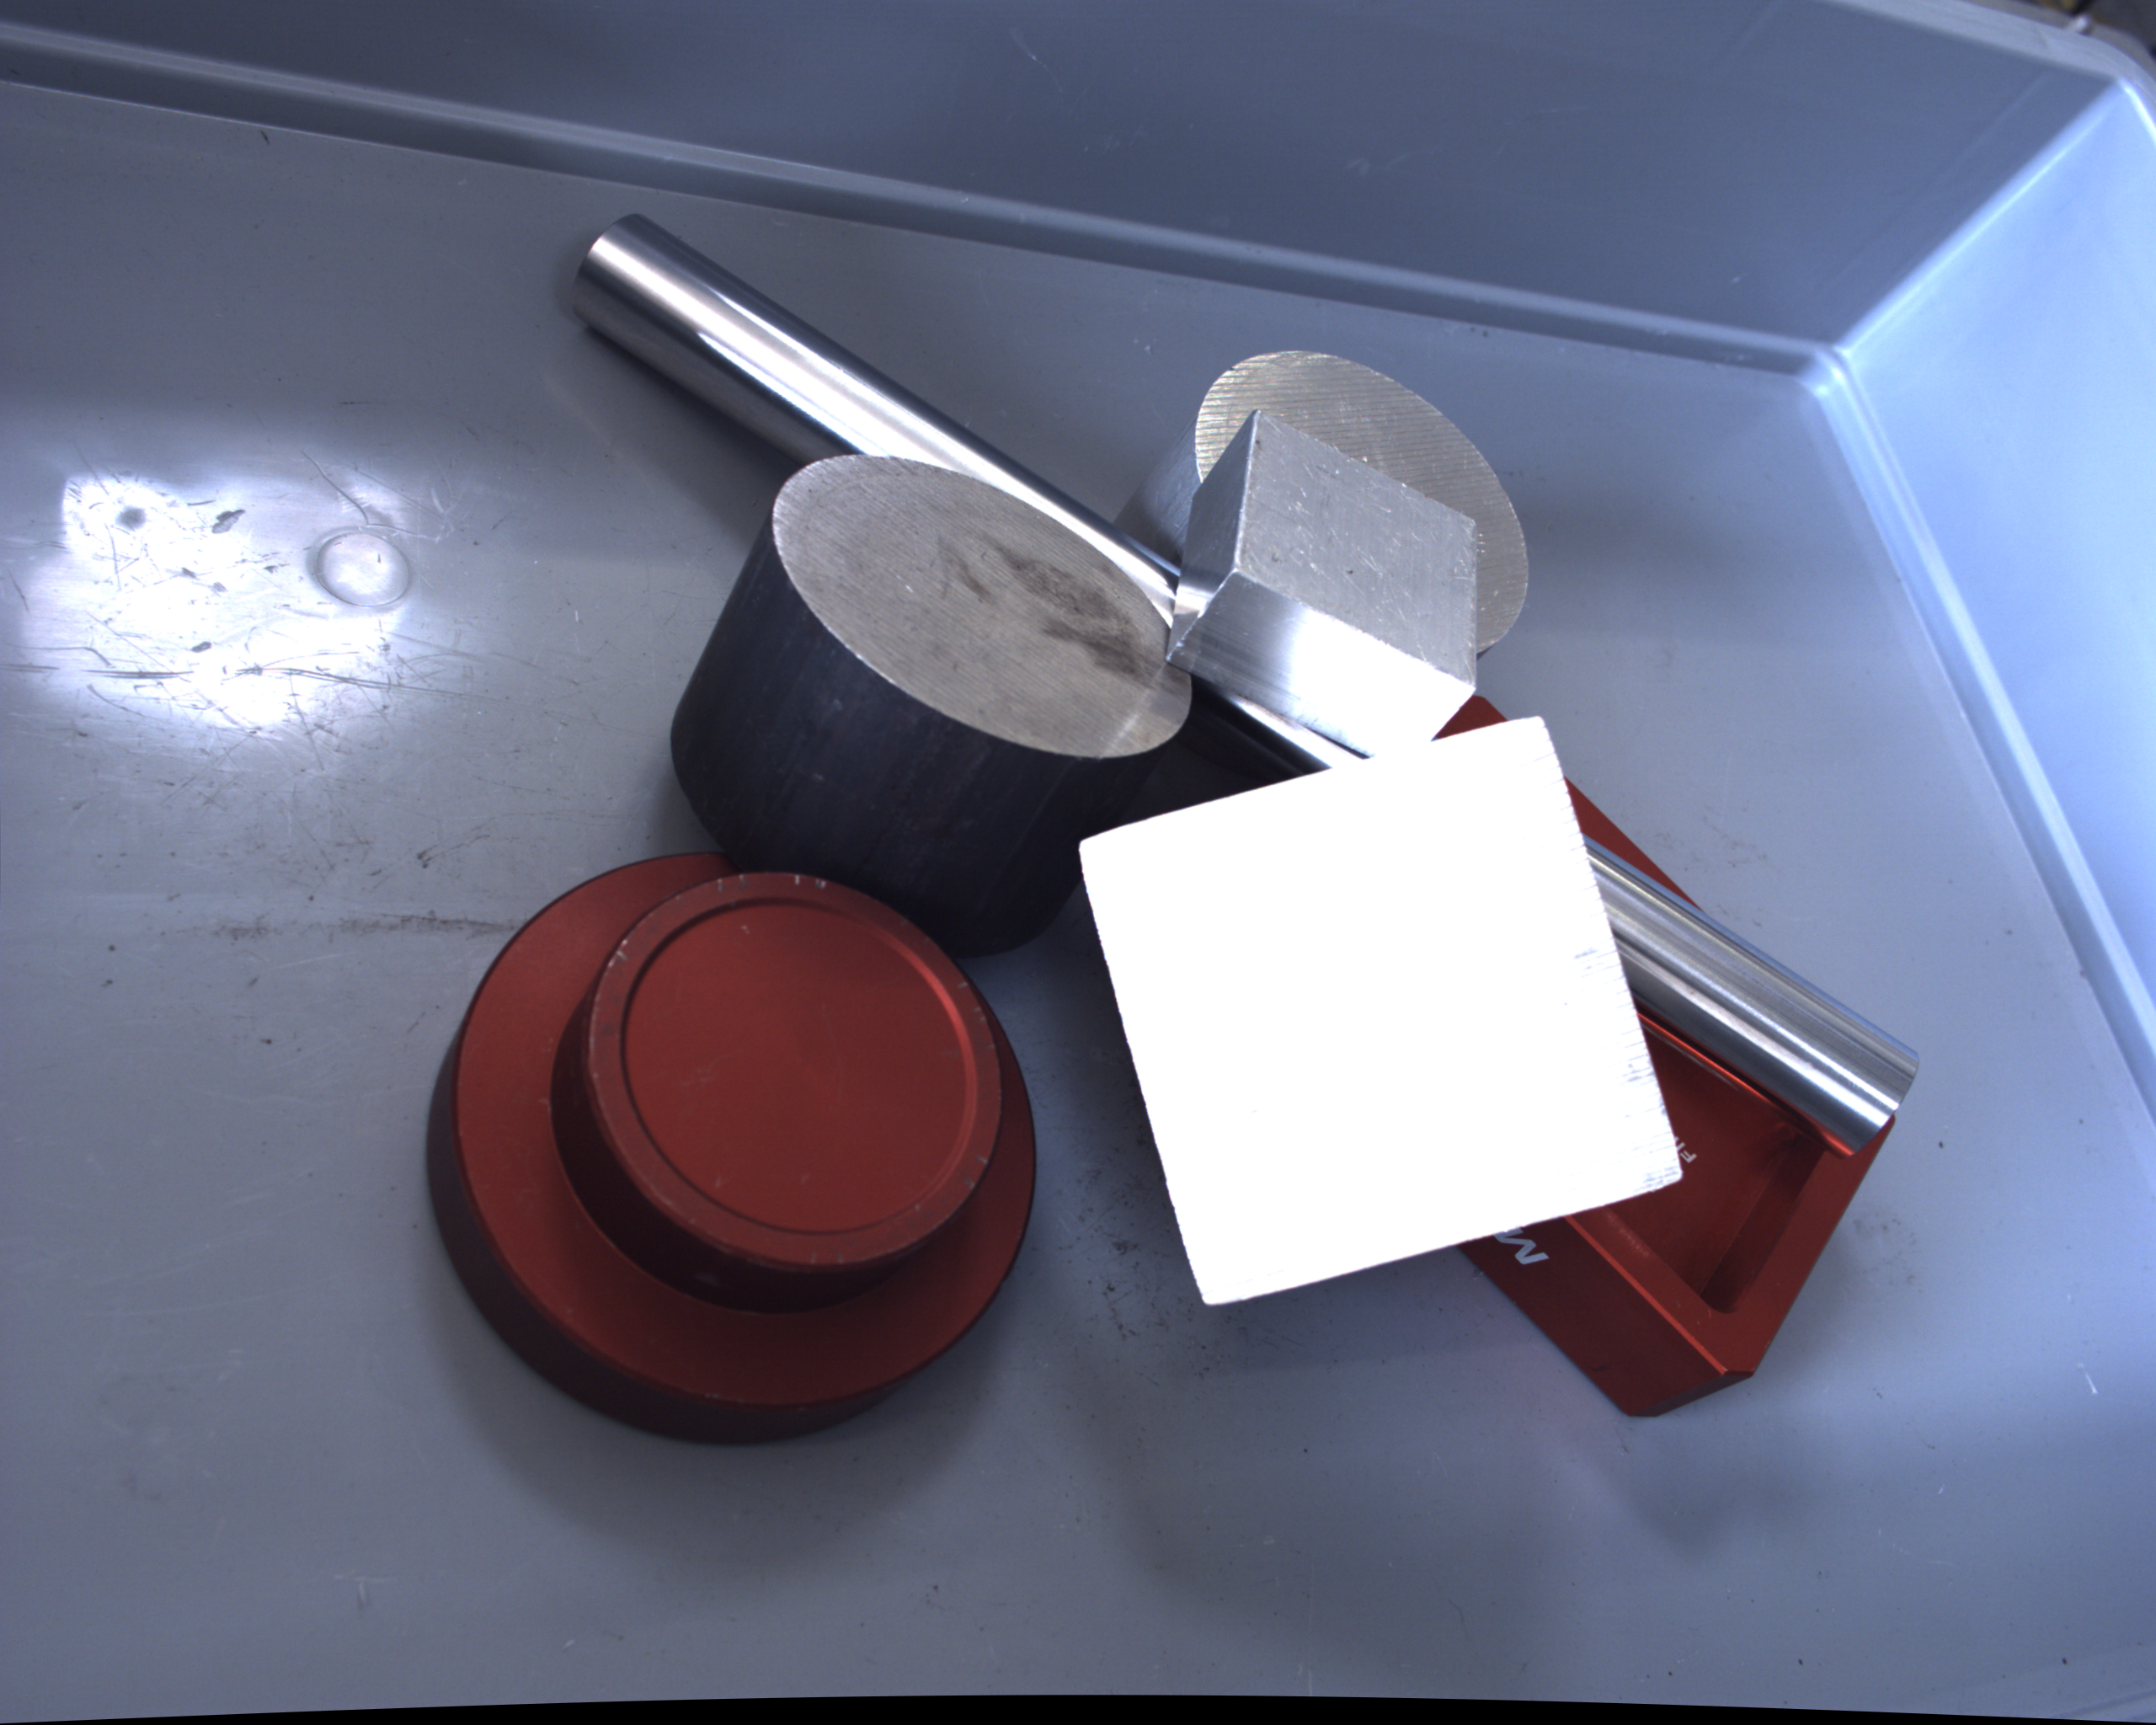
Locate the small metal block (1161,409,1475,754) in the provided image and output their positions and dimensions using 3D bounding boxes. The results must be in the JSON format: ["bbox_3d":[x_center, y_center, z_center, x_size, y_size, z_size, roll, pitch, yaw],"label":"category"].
[{"bbox_3d":[0.046,-0.051,0.392,0.050,0.025,0.050,23,45,-14],"label":"small metal block"}]

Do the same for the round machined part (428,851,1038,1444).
[{"bbox_3d":[-0.051,0.041,0.339,0.099,0.042,0.098,14,56,-21],"label":"round machined part"}]

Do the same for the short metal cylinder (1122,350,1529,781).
[{"bbox_3d":[0.050,-0.064,0.454,0.081,0.050,0.080,14,56,-21],"label":"short metal cylinder"}]

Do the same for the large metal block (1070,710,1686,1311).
[{"bbox_3d":[0.050,0.026,0.365,0.080,0.050,0.080,-15,83,1],"label":"large metal block"}]

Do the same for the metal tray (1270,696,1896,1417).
[{"bbox_3d":[0.098,0.037,0.431,0.130,0.030,0.090,45,51,3],"label":"metal tray"}]

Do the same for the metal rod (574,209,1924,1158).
[{"bbox_3d":[0.029,-0.038,0.411,0.301,0.025,0.025,34,51,6],"label":"metal rod"}]

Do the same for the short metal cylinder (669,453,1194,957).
[{"bbox_3d":[-0.027,-0.029,0.377,0.080,0.050,0.080,22,35,-16],"label":"short metal cylinder"}]
